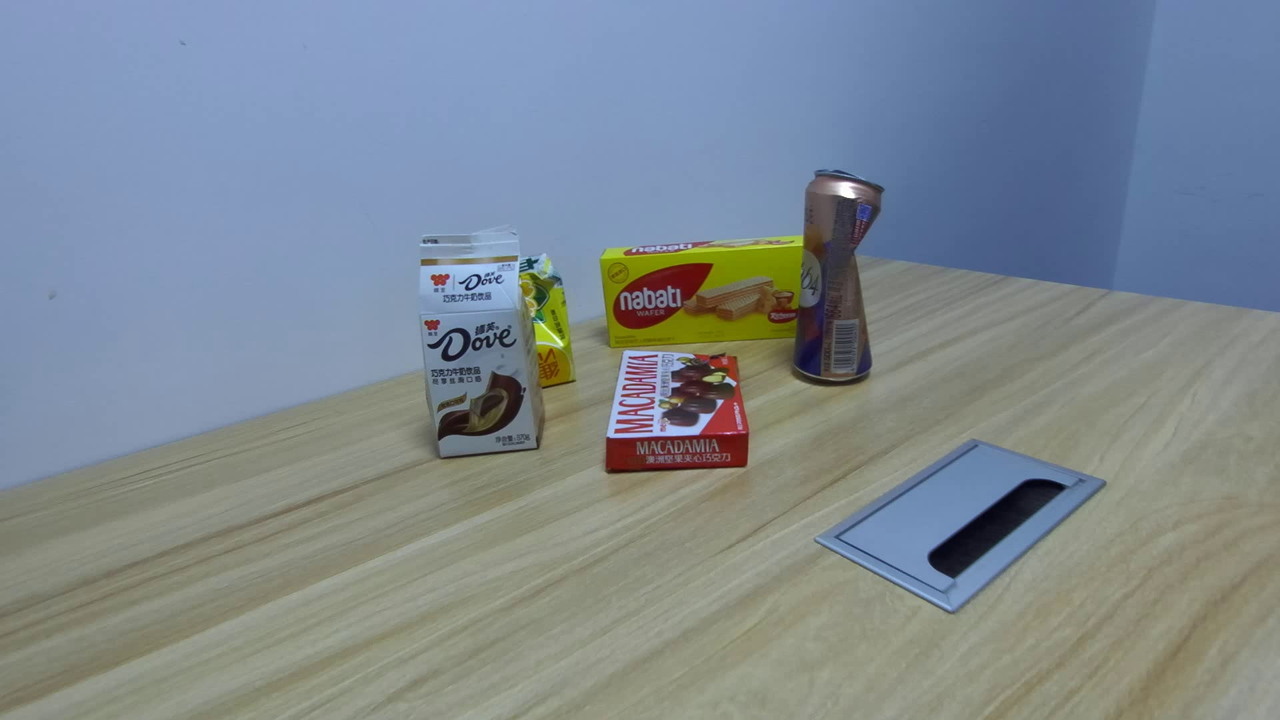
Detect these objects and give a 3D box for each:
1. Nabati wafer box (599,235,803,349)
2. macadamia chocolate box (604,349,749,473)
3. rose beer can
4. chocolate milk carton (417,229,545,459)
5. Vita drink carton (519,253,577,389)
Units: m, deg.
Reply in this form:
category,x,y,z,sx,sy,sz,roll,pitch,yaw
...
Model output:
category,x,y,z,sx,sy,sz,roll,pitch,yaw
Nabati wafer box,0.067,-0.066,0.695,0.203,0.093,0.042,-3,17,5
macadamia chocolate box,0.030,0.028,0.545,0.103,0.027,0.186,-1,21,2
rose beer can,0.159,-0.066,0.570,0.070,0.168,0.069,-14,22,-41
chocolate milk carton,-0.119,-0.016,0.516,0.084,0.155,0.073,-6,21,-1
Vita drink carton,-0.099,-0.031,0.618,0.071,0.110,0.046,-13,19,-17
